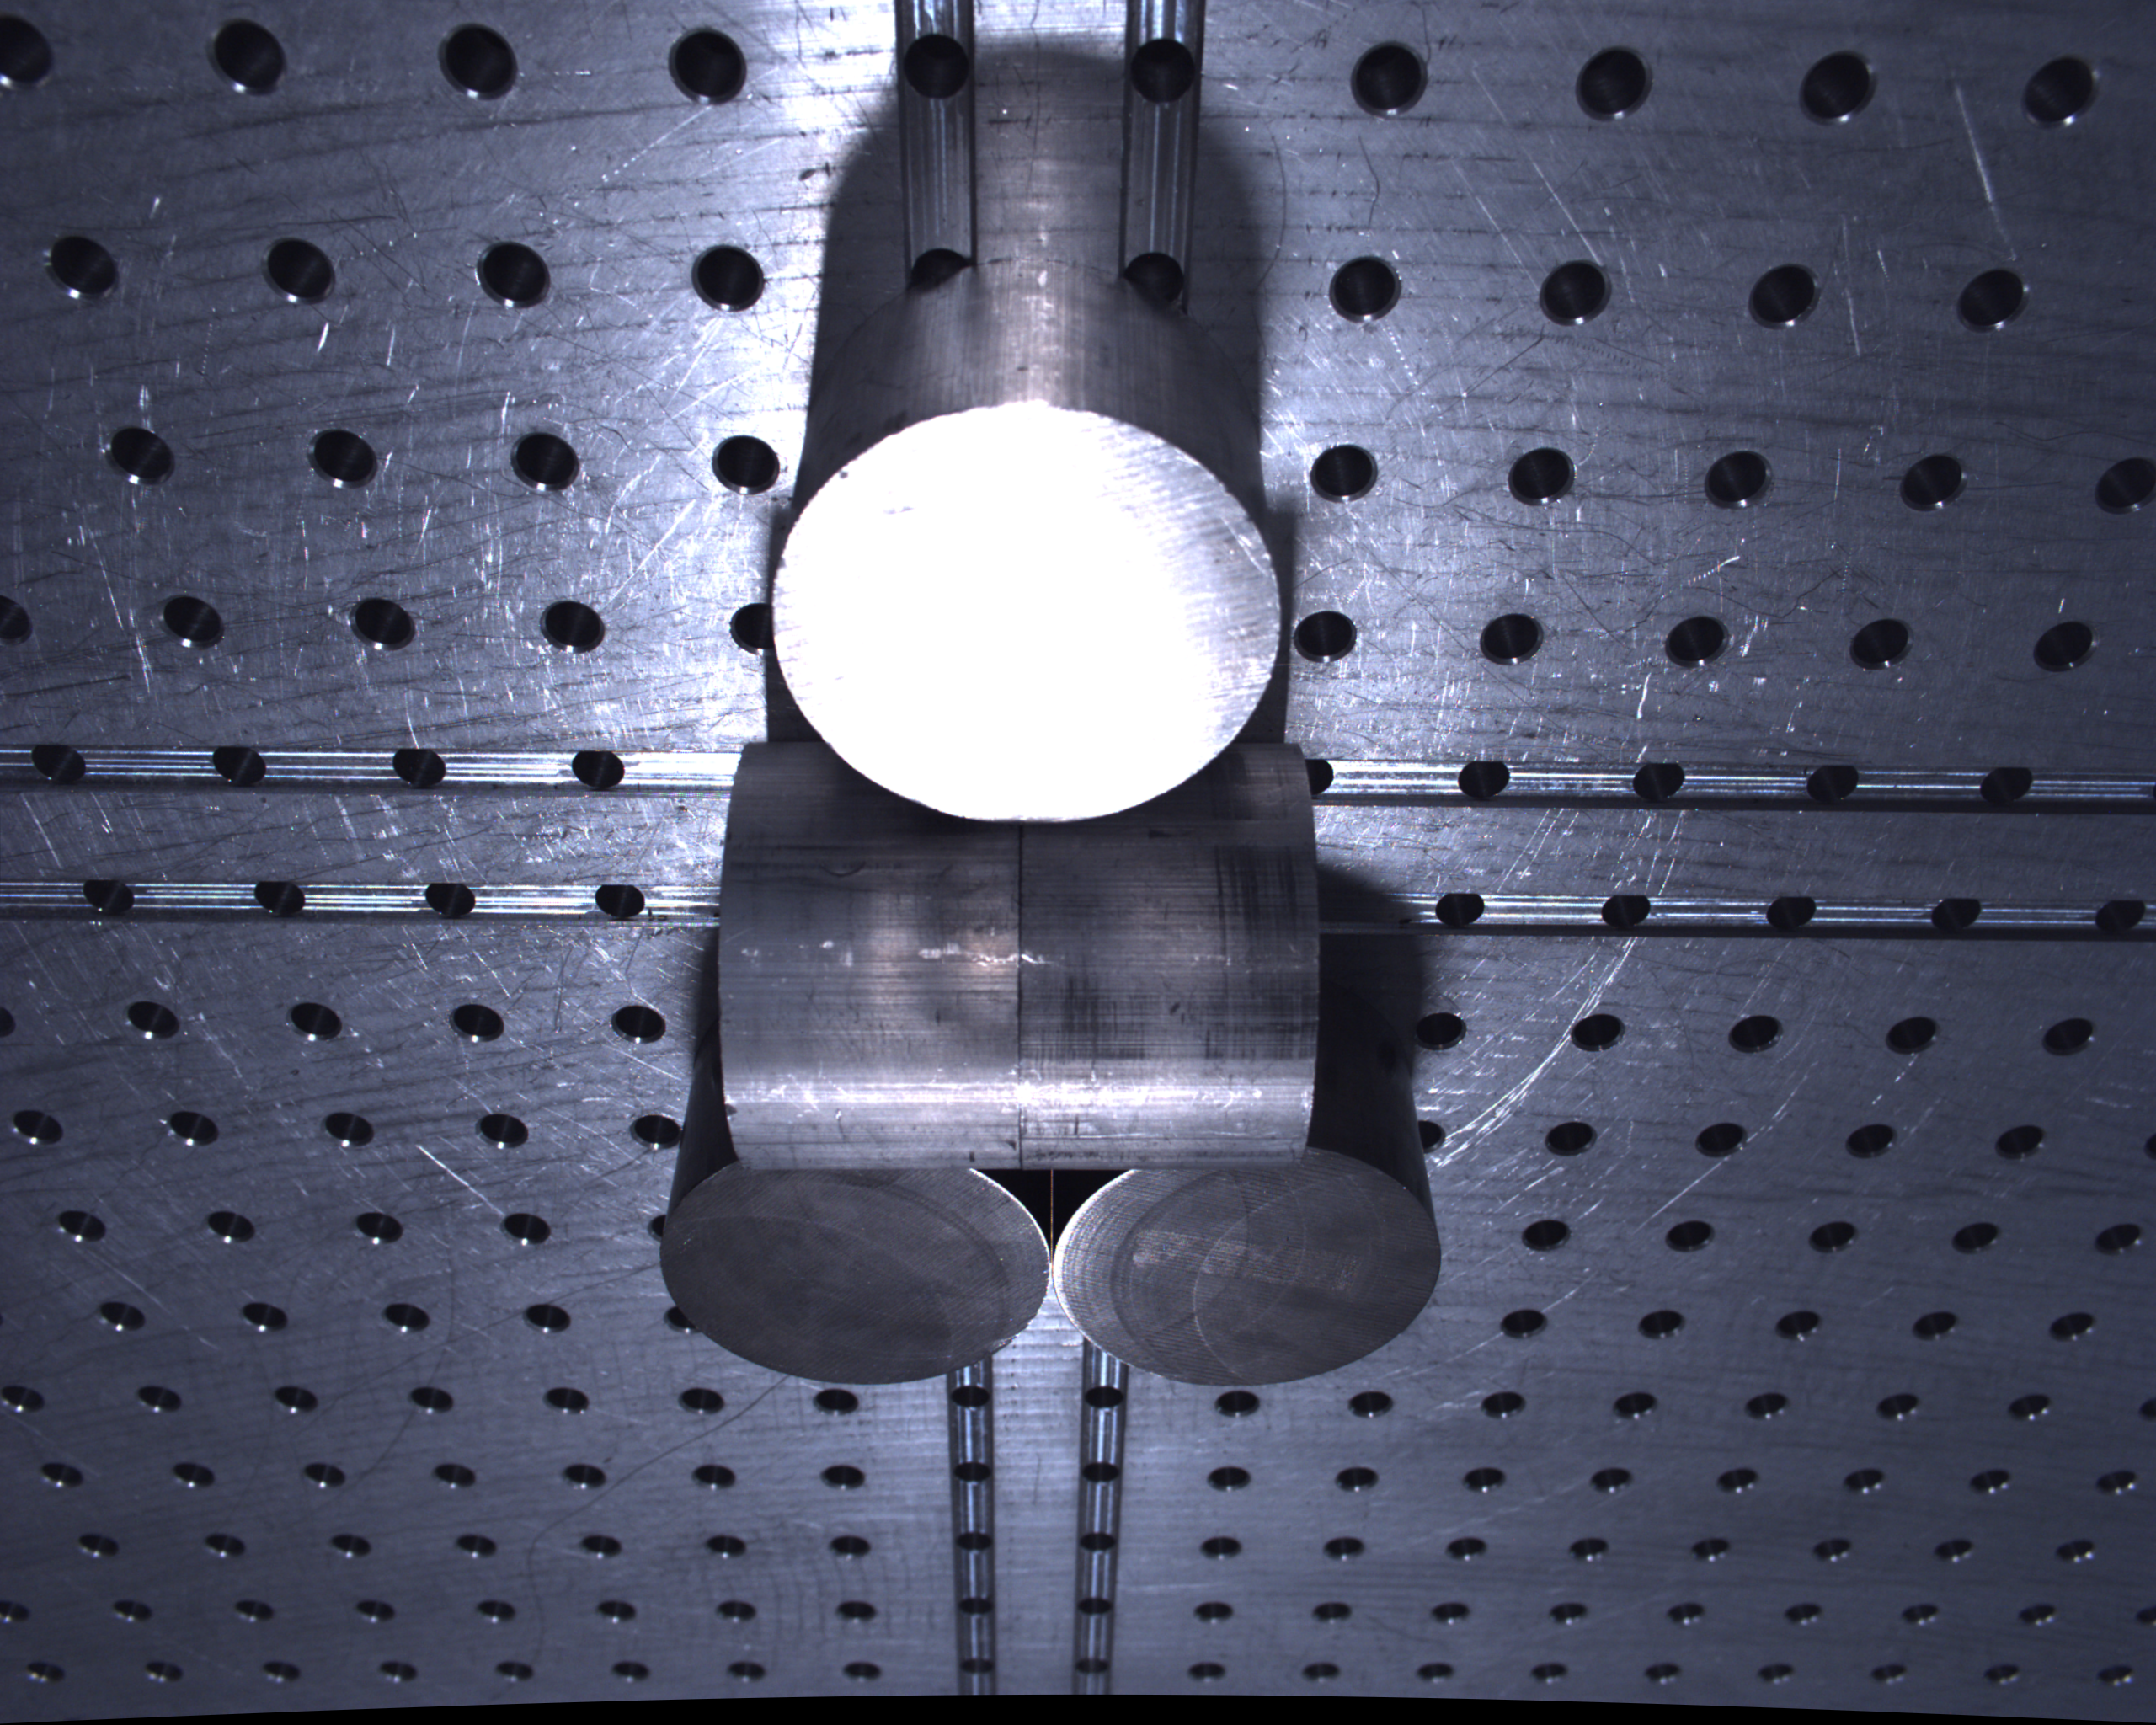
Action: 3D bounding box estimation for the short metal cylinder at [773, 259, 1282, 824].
[{"bbox_3d":[-0.008,-0.053,0.350,0.081,0.050,0.079,0,130,0],"label":"short metal cylinder"}]

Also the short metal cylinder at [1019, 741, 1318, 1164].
[{"bbox_3d":[0.015,0.017,0.391,0.050,0.080,0.079,0,130,-1],"label":"short metal cylinder"}]

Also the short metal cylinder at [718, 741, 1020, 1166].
[{"bbox_3d":[-0.036,0.017,0.390,0.050,0.080,0.079,0,130,-1],"label":"short metal cylinder"}]

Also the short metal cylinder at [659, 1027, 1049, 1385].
[{"bbox_3d":[-0.046,0.068,0.452,0.081,0.050,0.079,0,130,0],"label":"short metal cylinder"}]

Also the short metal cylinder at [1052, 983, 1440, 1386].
[{"bbox_3d":[0.035,0.069,0.453,0.081,0.050,0.079,0,130,0],"label":"short metal cylinder"}]
